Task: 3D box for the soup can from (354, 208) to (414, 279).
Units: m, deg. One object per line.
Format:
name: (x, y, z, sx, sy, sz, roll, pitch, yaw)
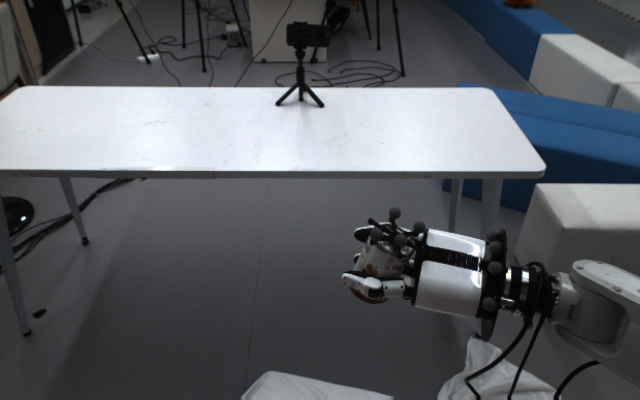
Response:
soup can: (0.089, 0.092, 0.704, 0.067, 0.101, 0.067, 14, 35, -10)
